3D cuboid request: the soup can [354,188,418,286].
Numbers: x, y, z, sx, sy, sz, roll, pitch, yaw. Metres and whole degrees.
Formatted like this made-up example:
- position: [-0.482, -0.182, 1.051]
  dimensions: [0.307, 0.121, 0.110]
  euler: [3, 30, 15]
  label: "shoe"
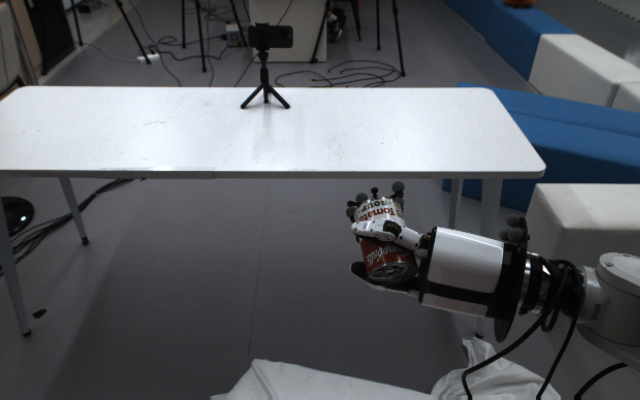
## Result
- position: [0.089, 0.054, 0.651]
  dimensions: [0.067, 0.067, 0.101]
  euler: [-5, 57, -10]
  label: "soup can"
